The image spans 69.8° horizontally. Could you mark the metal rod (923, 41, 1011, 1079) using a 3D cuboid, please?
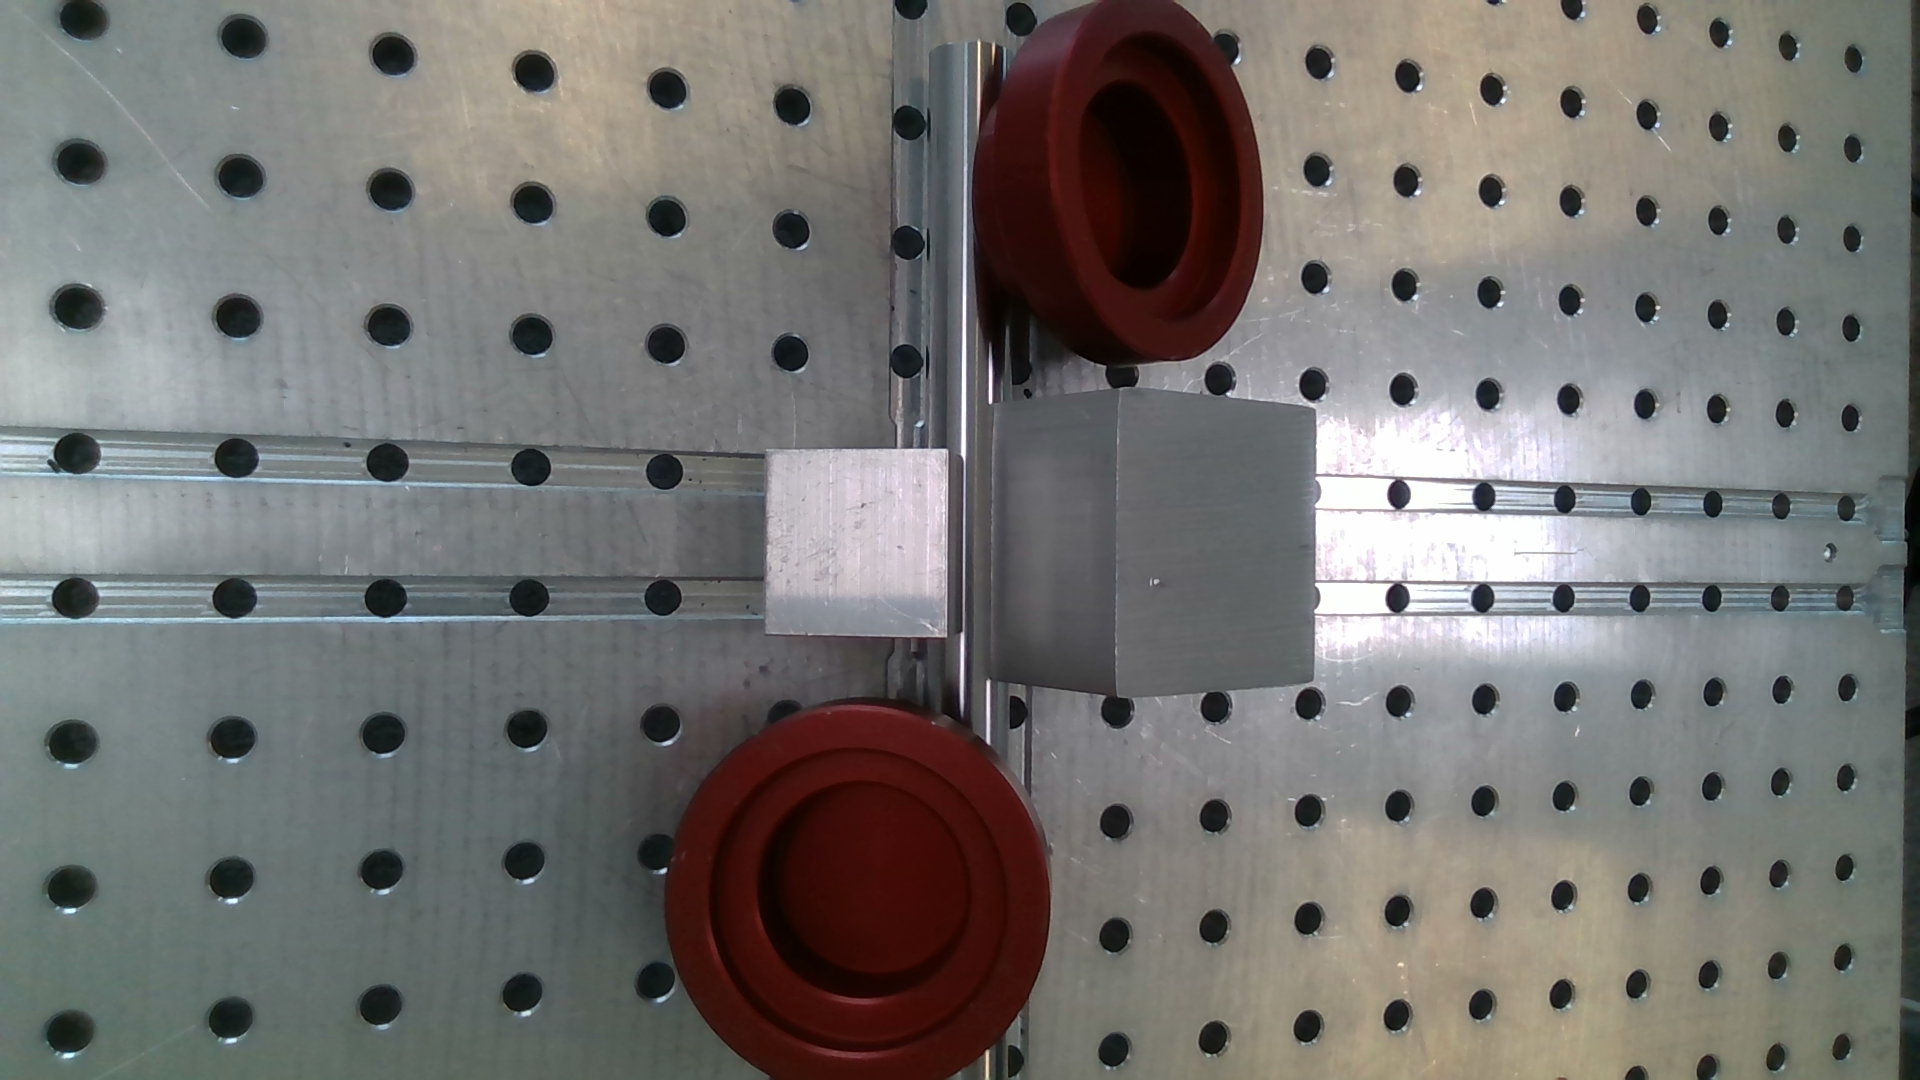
[{"bbox_3d":[0.002,0.010,0.398,0.025,0.025,0.300,0,90,-20],"label":"metal rod"}]

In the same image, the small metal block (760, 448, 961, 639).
[{"bbox_3d":[-0.027,0.001,0.376,0.050,0.025,0.050,1,90,8],"label":"small metal block"}]

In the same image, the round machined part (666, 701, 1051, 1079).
[{"bbox_3d":[-0.024,0.091,0.366,0.098,0.042,0.098,0,90,5],"label":"round machined part"}]

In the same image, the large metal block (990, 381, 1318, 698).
[{"bbox_3d":[0.056,0.000,0.392,0.080,0.050,0.080,1,90,-38],"label":"large metal block"}]

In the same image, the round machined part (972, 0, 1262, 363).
[{"bbox_3d":[0.041,-0.098,0.389,0.098,0.042,0.098,0,90,-46],"label":"round machined part"}]
